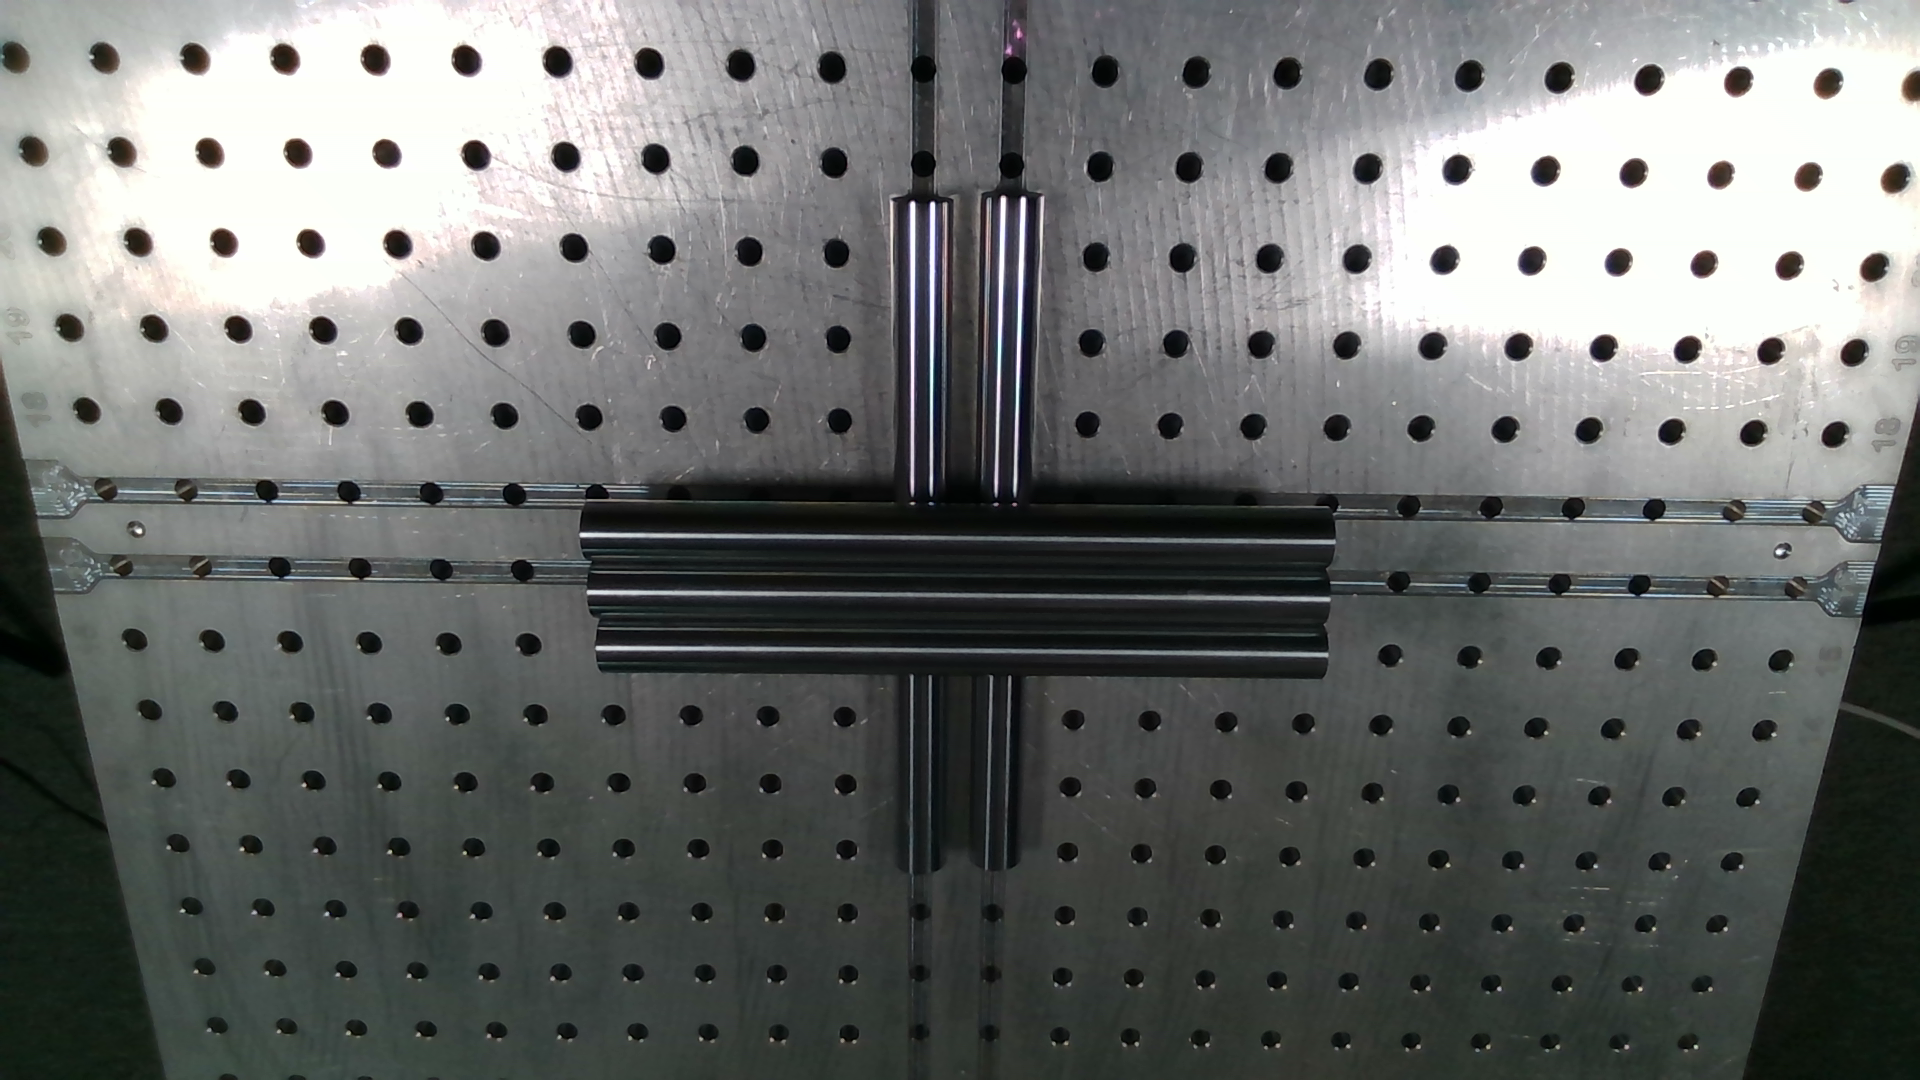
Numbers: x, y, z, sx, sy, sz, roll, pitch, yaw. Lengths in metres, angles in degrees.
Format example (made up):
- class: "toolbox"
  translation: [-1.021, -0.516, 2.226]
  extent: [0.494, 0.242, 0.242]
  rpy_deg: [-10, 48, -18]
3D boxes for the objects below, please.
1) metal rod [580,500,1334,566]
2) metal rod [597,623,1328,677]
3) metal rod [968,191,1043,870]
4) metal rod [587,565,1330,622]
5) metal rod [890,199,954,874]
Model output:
- class: "metal rod"
  translation: [-0.001, -0.003, 0.560]
  extent: [0.300, 0.025, 0.025]
  rpy_deg: [1, 110, 0]
- class: "metal rod"
  translation: [0.001, 0.044, 0.577]
  extent: [0.300, 0.025, 0.025]
  rpy_deg: [1, 110, 0]
- class: "metal rod"
  translation: [0.018, 0.006, 0.589]
  extent: [0.025, 0.025, 0.301]
  rpy_deg: [1, 110, 0]
- class: "metal rod"
  translation: [-0.001, 0.021, 0.569]
  extent: [0.300, 0.025, 0.025]
  rpy_deg: [1, 110, 0]
- class: "metal rod"
  translation: [-0.017, 0.008, 0.590]
  extent: [0.025, 0.025, 0.301]
  rpy_deg: [1, 110, 0]
